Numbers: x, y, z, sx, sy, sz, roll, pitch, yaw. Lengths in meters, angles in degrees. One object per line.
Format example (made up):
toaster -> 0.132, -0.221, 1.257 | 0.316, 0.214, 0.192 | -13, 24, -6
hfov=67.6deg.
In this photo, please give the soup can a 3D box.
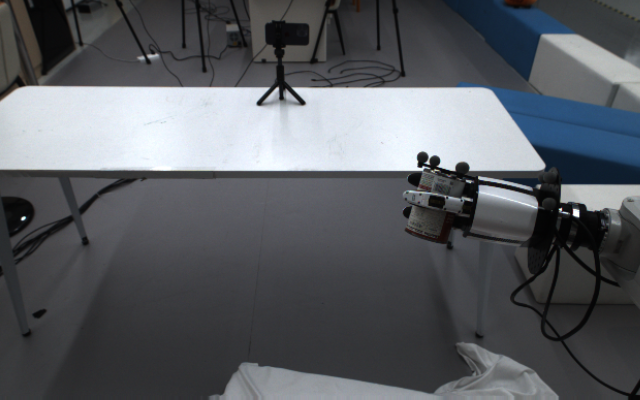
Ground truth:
soup can -> 0.178, 0.007, 0.742 | 0.067, 0.101, 0.067 | 15, 7, -2
